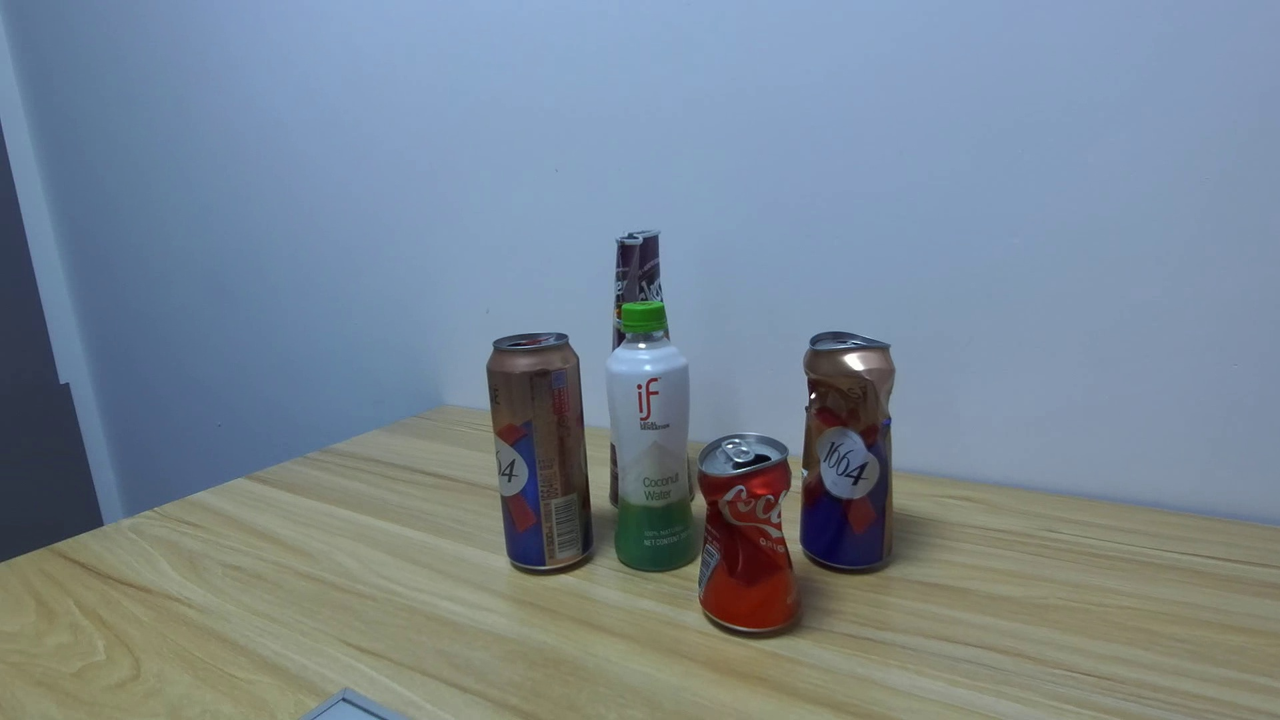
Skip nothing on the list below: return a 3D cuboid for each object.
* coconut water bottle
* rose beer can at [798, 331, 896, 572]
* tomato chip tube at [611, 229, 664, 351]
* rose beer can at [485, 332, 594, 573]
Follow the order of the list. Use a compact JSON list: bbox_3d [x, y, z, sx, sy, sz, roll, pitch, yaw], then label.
[{"bbox_3d":[0.008,0.054,0.513,0.063,0.188,0.063,-3,12,1],"label":"coconut water bottle"},{"bbox_3d":[0.146,0.064,0.498,0.073,0.162,0.068,8,15,36],"label":"rose beer can"},{"bbox_3d":[0.005,0.010,0.602,0.090,0.235,0.077,-9,15,-33],"label":"tomato chip tube"},{"bbox_3d":[-0.073,0.070,0.525,0.068,0.169,0.068,-4,12,1],"label":"rose beer can"}]
